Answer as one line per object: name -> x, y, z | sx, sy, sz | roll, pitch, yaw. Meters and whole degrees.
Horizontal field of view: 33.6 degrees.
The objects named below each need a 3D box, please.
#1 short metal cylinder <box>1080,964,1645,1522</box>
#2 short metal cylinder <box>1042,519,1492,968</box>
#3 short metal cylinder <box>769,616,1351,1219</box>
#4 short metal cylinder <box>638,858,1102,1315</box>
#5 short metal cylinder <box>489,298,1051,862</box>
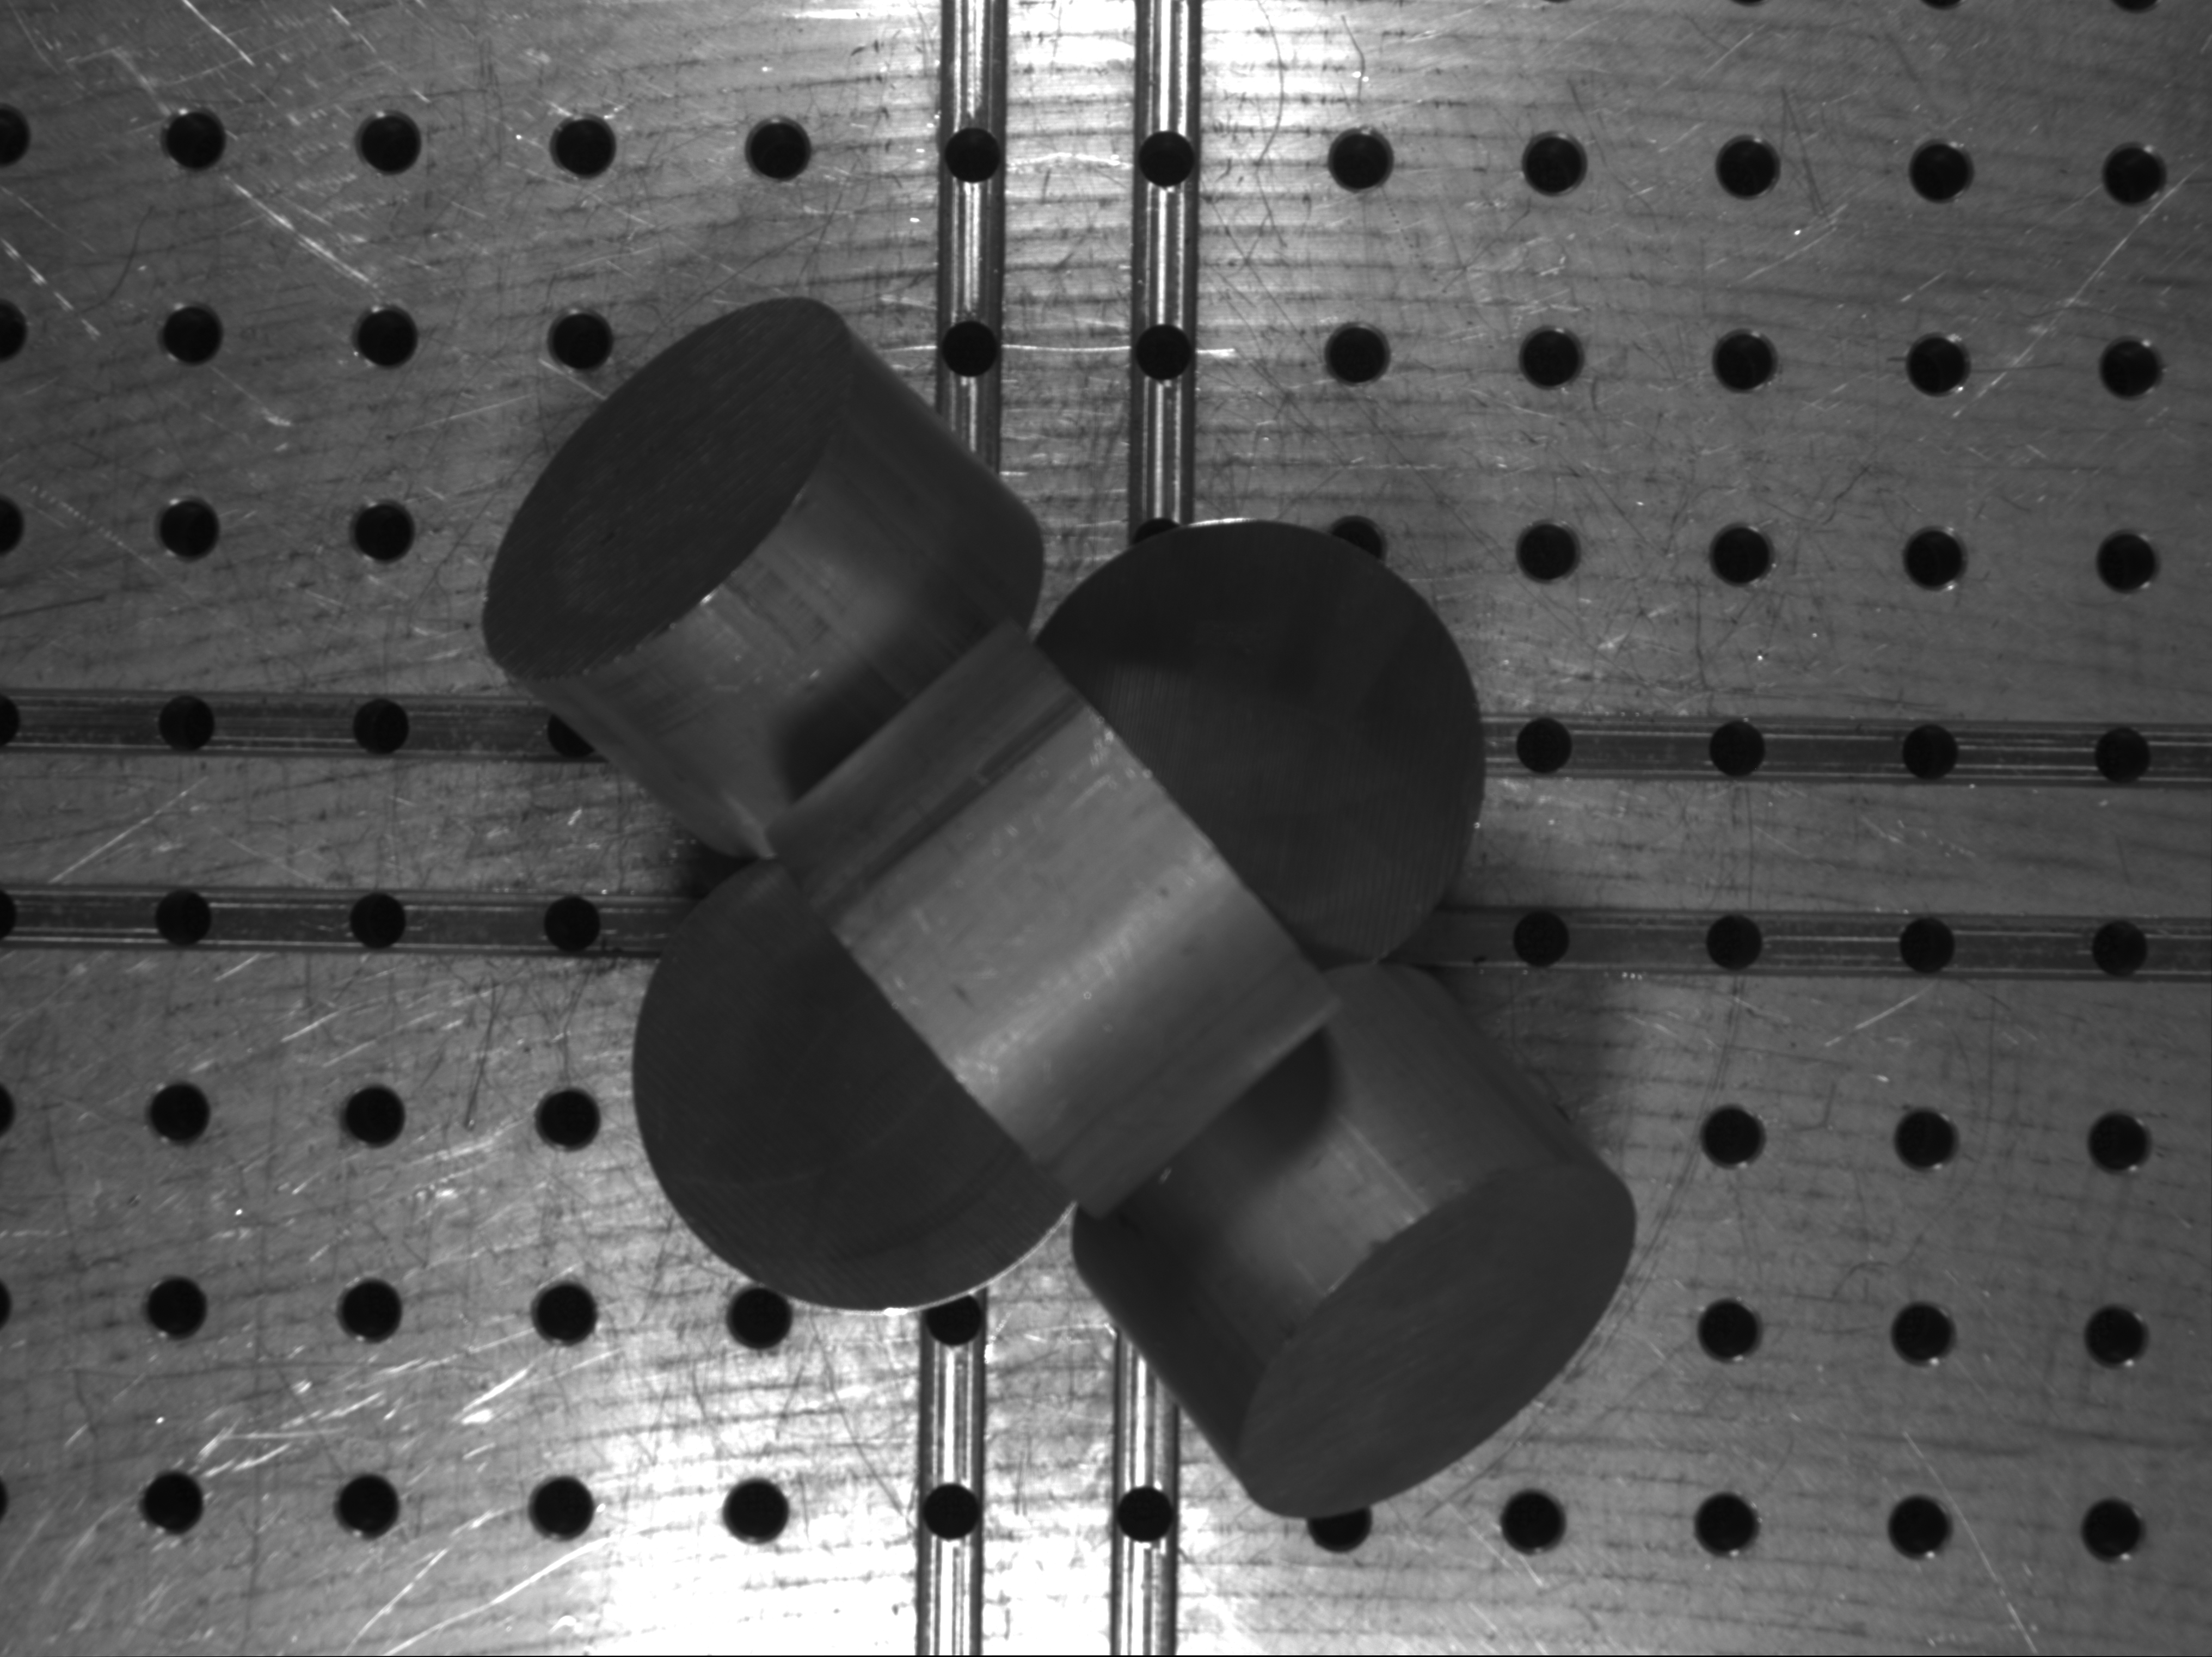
short metal cylinder -> 0.043, 0.069, 0.613 | 0.080, 0.080, 0.050 | -41, 55, 0
short metal cylinder -> 0.024, -0.011, 0.634 | 0.080, 0.050, 0.080 | 0, 90, 0
short metal cylinder -> -0.007, 0.014, 0.568 | 0.050, 0.080, 0.080 | -41, 90, 0
short metal cylinder -> -0.038, 0.041, 0.634 | 0.080, 0.050, 0.080 | 0, 90, 0
short metal cylinder -> -0.056, -0.042, 0.613 | 0.080, 0.080, 0.050 | -46, 124, 0
